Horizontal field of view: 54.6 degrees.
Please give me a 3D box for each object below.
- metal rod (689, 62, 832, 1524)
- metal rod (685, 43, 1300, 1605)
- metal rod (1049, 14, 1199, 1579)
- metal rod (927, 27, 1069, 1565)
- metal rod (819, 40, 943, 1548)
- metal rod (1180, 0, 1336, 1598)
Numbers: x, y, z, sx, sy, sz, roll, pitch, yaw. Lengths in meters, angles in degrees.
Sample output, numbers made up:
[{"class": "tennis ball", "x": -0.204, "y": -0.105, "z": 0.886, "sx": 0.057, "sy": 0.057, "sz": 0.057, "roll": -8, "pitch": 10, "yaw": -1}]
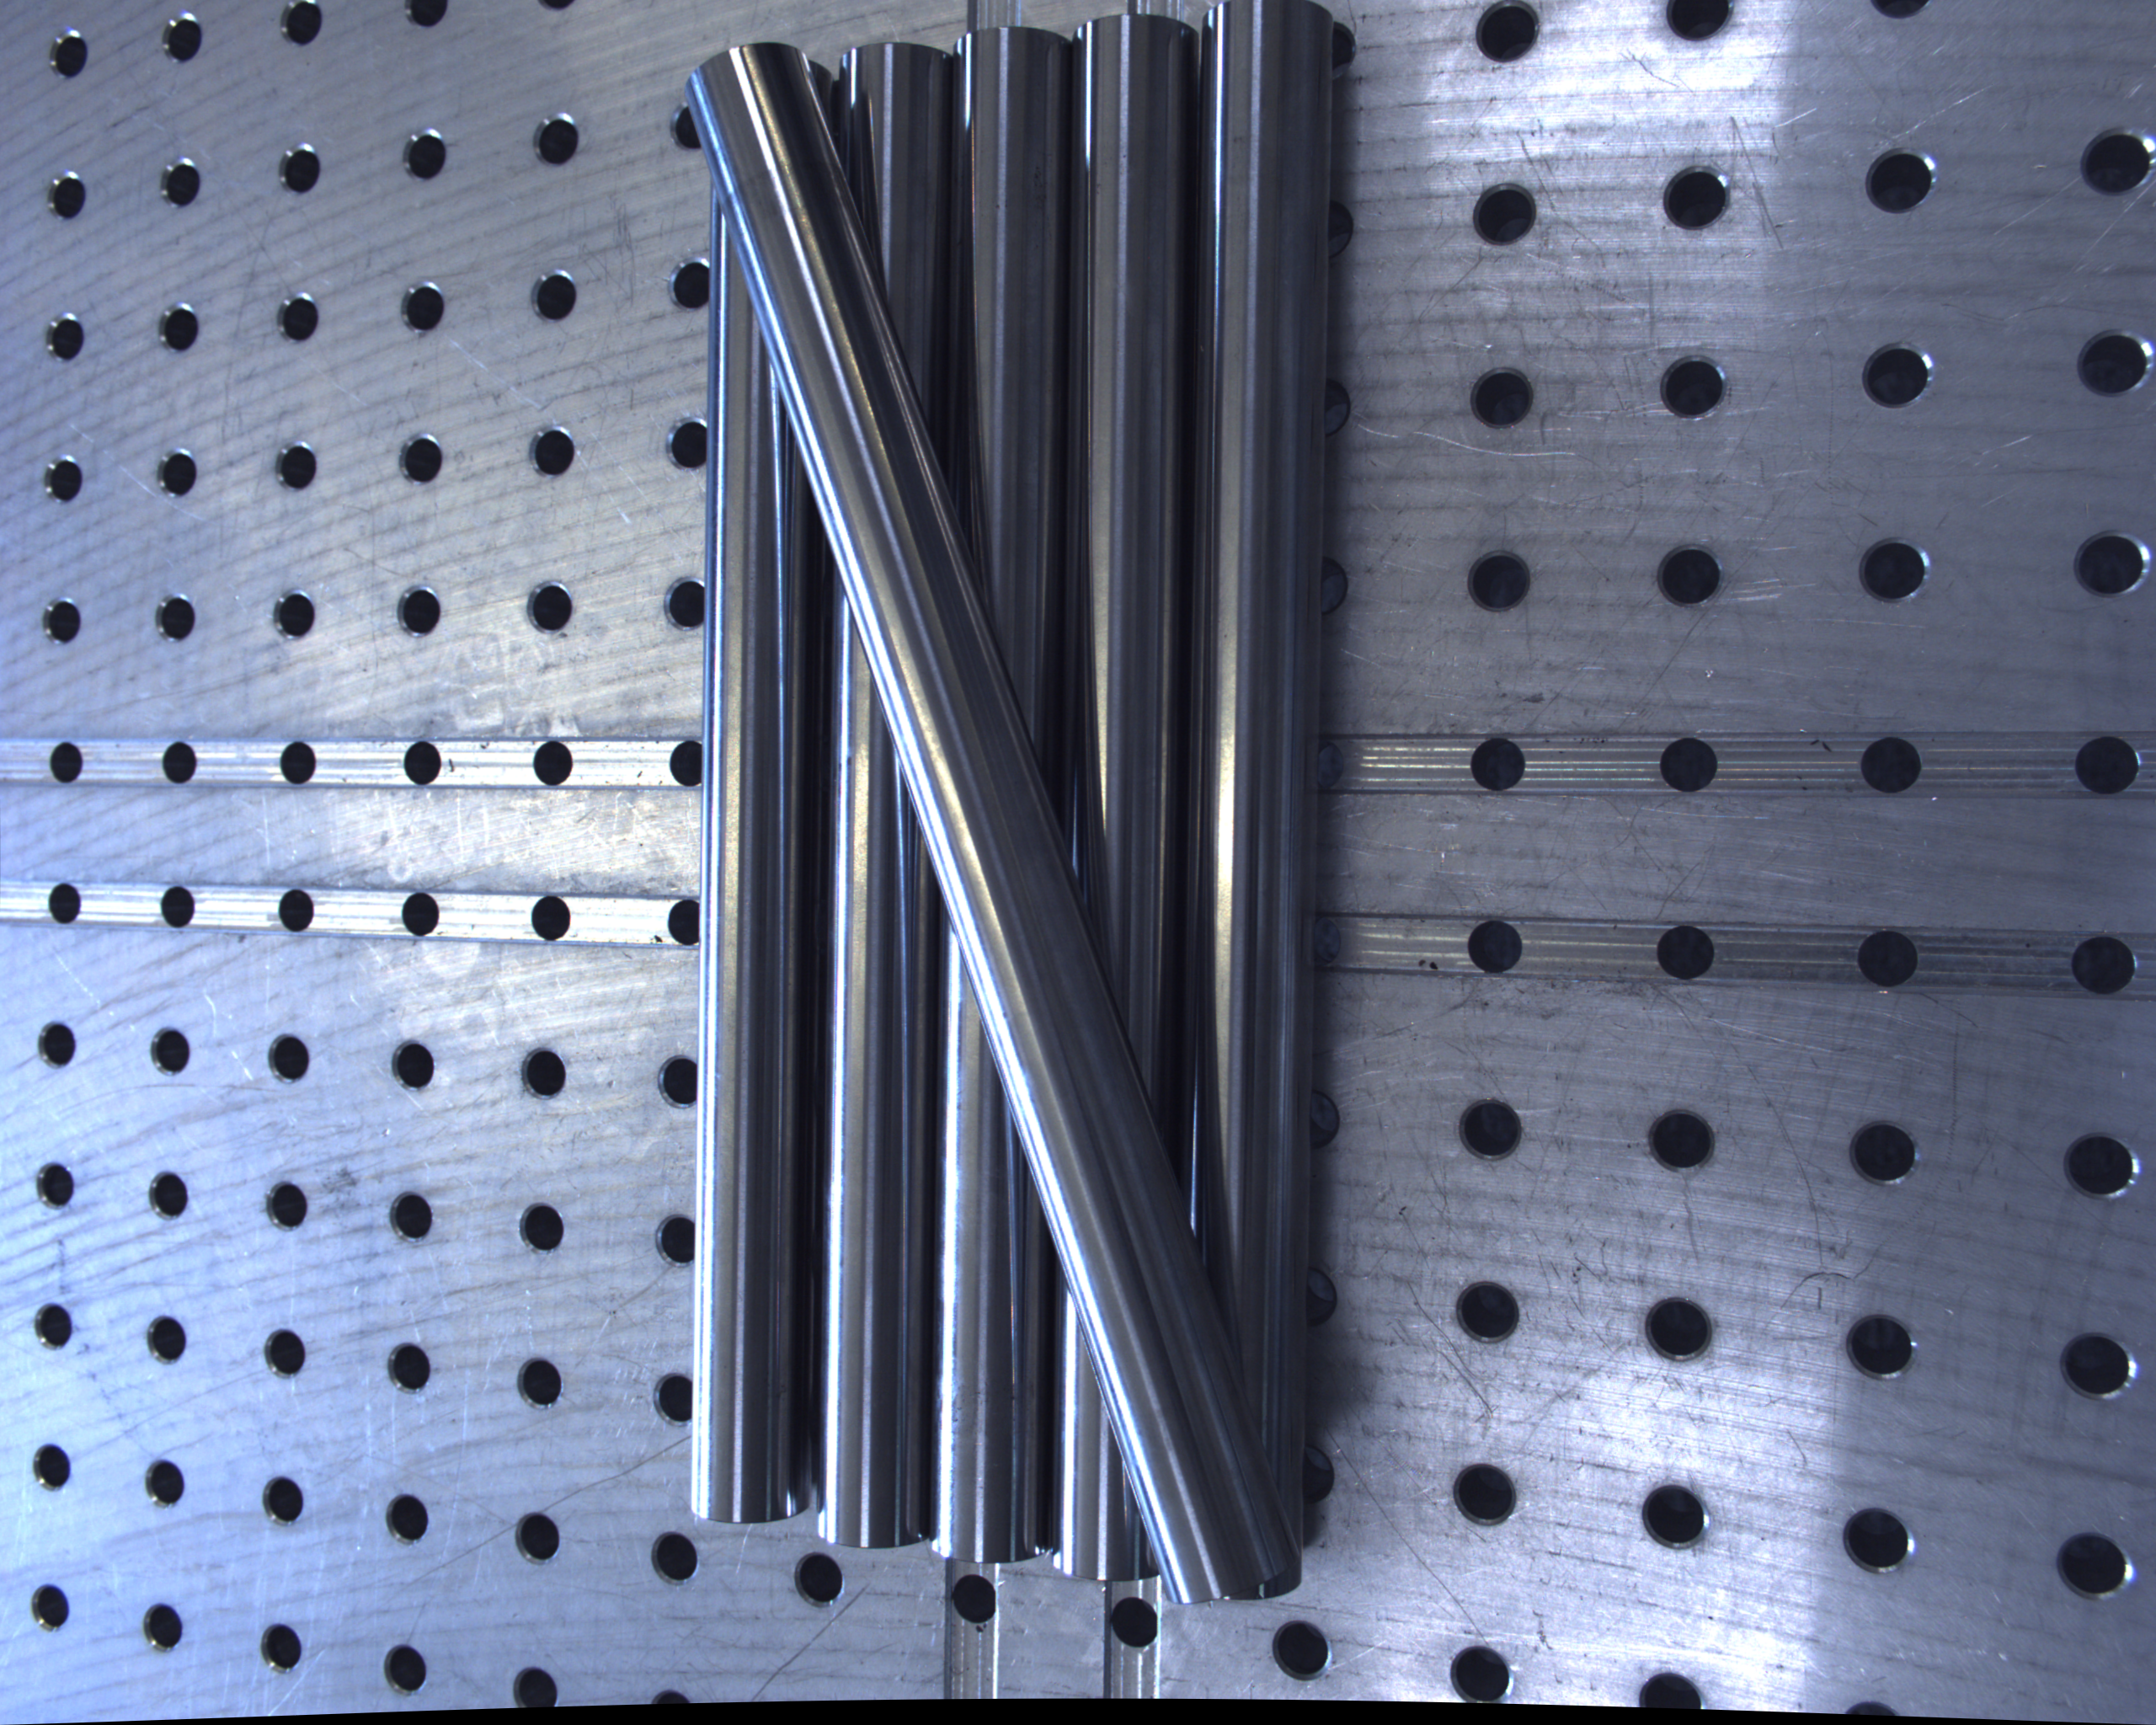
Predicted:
[{"class": "metal rod", "x": -0.066, "y": -0.015, "z": 0.435, "sx": 0.025, "sy": 0.025, "sz": 0.298, "roll": 1, "pitch": 90, "yaw": 20}, {"class": "metal rod", "x": -0.018, "y": -0.012, "z": 0.393, "sx": 0.025, "sy": 0.025, "sz": 0.299, "roll": -20, "pitch": 83, "yaw": 19}, {"class": "metal rod", "x": 0.009, "y": -0.012, "z": 0.410, "sx": 0.025, "sy": 0.025, "sz": 0.298, "roll": 1, "pitch": 90, "yaw": 20}, {"class": "metal rod", "x": -0.016, "y": -0.013, "z": 0.417, "sx": 0.025, "sy": 0.025, "sz": 0.298, "roll": 1, "pitch": 90, "yaw": 20}, {"class": "metal rod", "x": -0.038, "y": -0.013, "z": 0.426, "sx": 0.025, "sy": 0.025, "sz": 0.298, "roll": 1, "pitch": 90, "yaw": 20}, {"class": "metal rod", "x": 0.034, "y": -0.012, "z": 0.402, "sx": 0.025, "sy": 0.025, "sz": 0.298, "roll": 1, "pitch": 90, "yaw": 20}]
